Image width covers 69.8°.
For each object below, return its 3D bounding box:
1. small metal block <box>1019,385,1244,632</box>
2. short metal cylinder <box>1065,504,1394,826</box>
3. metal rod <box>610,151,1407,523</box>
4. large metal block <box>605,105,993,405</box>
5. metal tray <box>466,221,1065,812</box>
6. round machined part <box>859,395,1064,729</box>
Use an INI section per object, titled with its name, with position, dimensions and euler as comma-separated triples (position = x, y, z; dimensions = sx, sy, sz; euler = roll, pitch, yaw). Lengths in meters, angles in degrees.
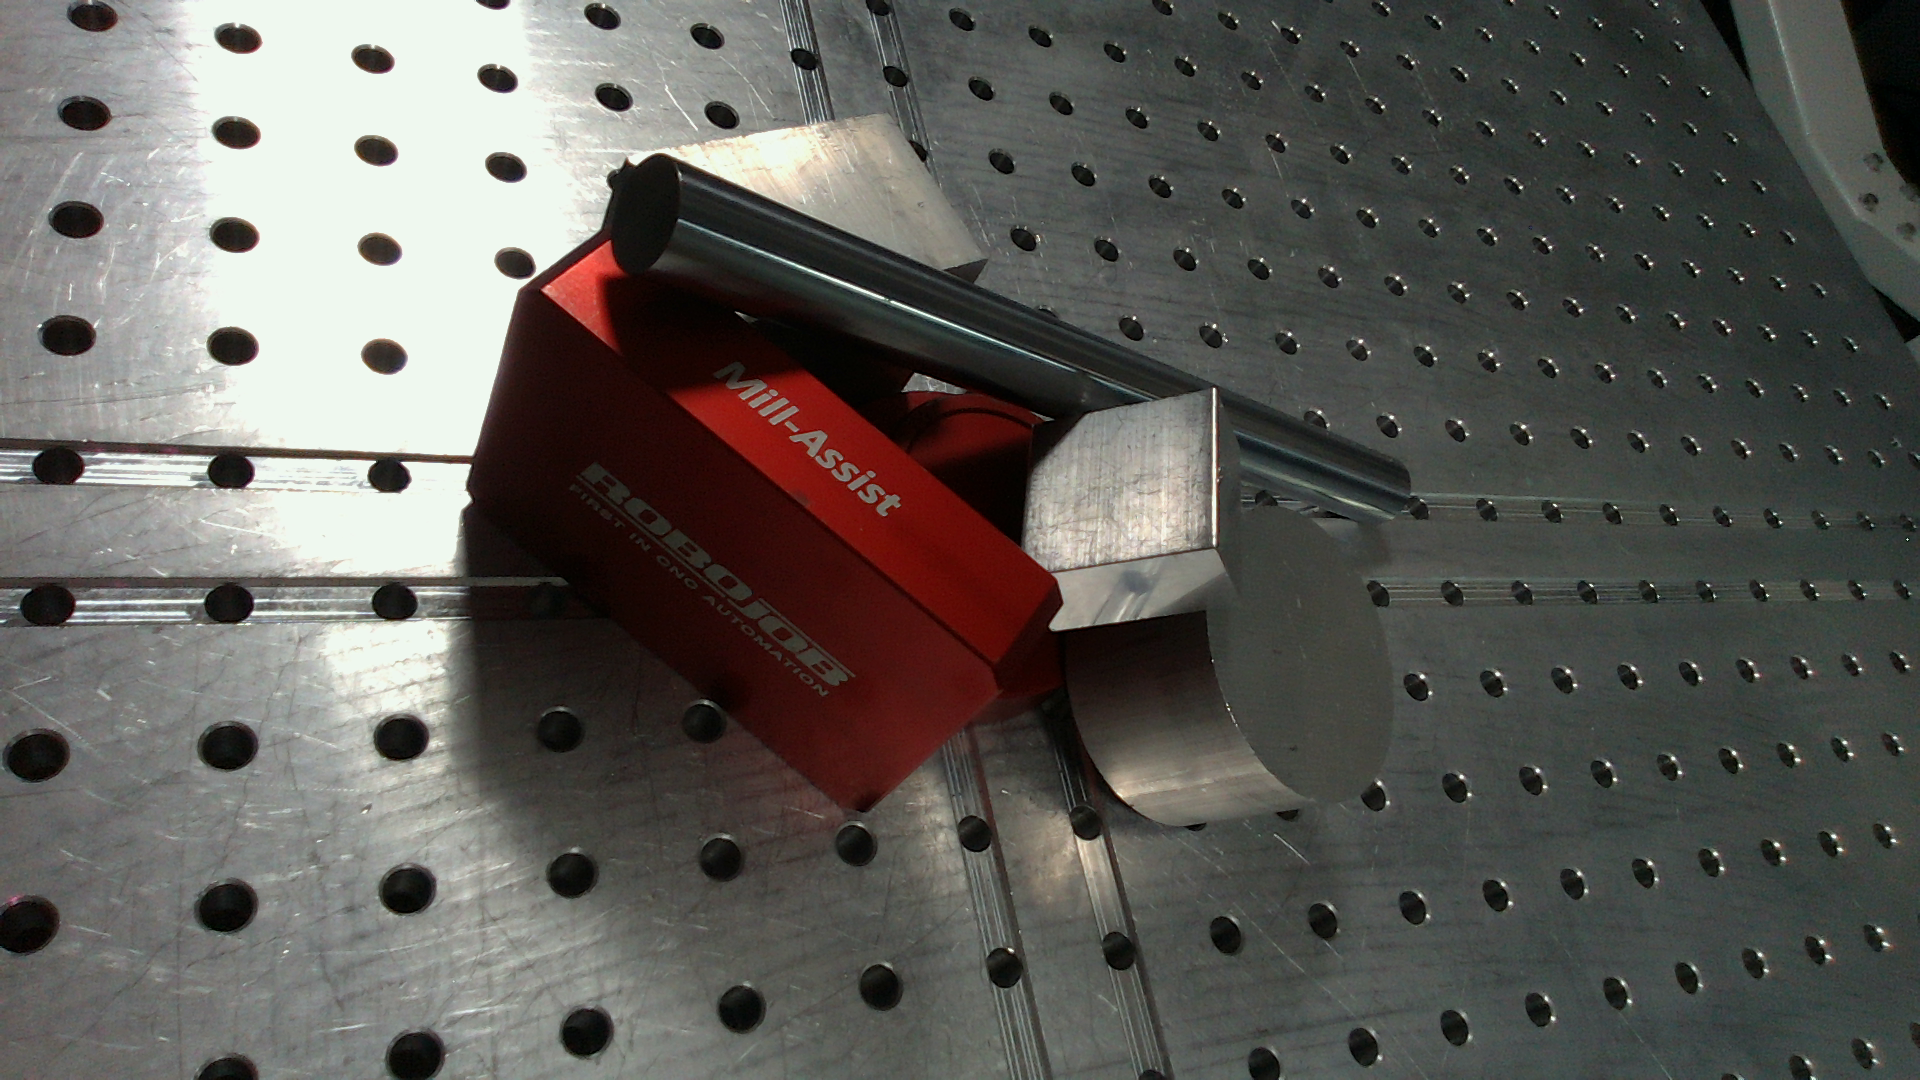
[small metal block]
position = 0.044, -0.008, 0.349
dimensions = 0.025, 0.050, 0.050
euler = 56, 32, -46
[short metal cylinder]
position = 0.075, 0.035, 0.380
dimensions = 0.080, 0.050, 0.080
euler = 17, 63, -38
[metal rod]
position = 0.042, -0.042, 0.379
dimensions = 0.301, 0.025, 0.025
euler = 13, 54, -45
[large metal block]
position = -0.051, -0.063, 0.367
dimensions = 0.080, 0.080, 0.050
euler = -23, 74, -36
[metal tray]
position = -0.050, 0.000, 0.323
dimensions = 0.130, 0.090, 0.030
euler = 40, 51, -1
[round machined part]
position = 0.001, 0.000, 0.386
dimensions = 0.098, 0.042, 0.098
euler = 14, 56, -21
